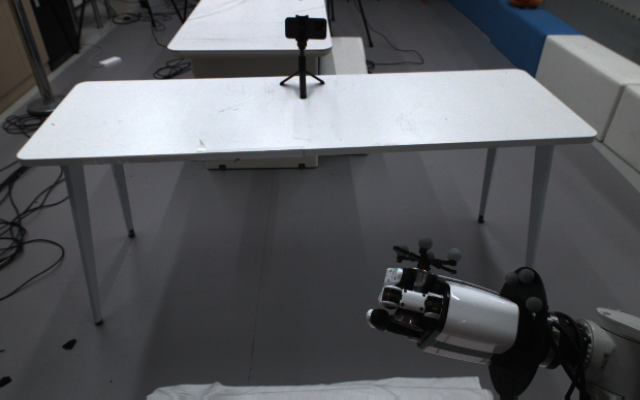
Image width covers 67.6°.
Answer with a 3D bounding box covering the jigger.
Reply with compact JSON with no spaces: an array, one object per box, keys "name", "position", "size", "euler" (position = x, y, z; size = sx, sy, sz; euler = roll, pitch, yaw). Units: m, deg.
[{"name":"jigger","position":[0.118,0.121,0.598],"size":[0.043,0.043,0.071],"euler":[15,70,18]}]
